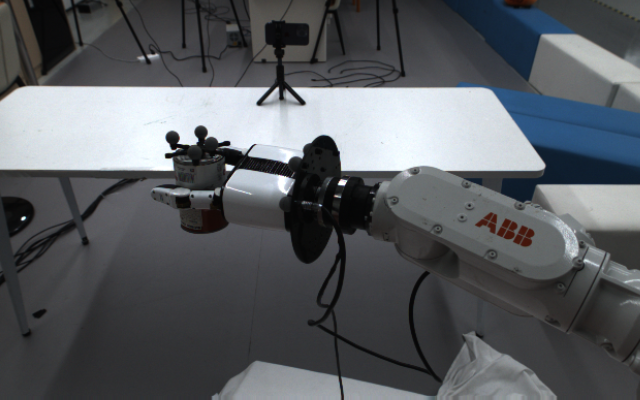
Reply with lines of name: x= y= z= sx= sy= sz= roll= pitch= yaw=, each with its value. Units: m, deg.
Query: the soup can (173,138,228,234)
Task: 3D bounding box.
soup can: x=-0.157 y=-0.013 z=0.647 sx=0.067 sy=0.101 sz=0.067 roll=1 pitch=25 yaw=0
